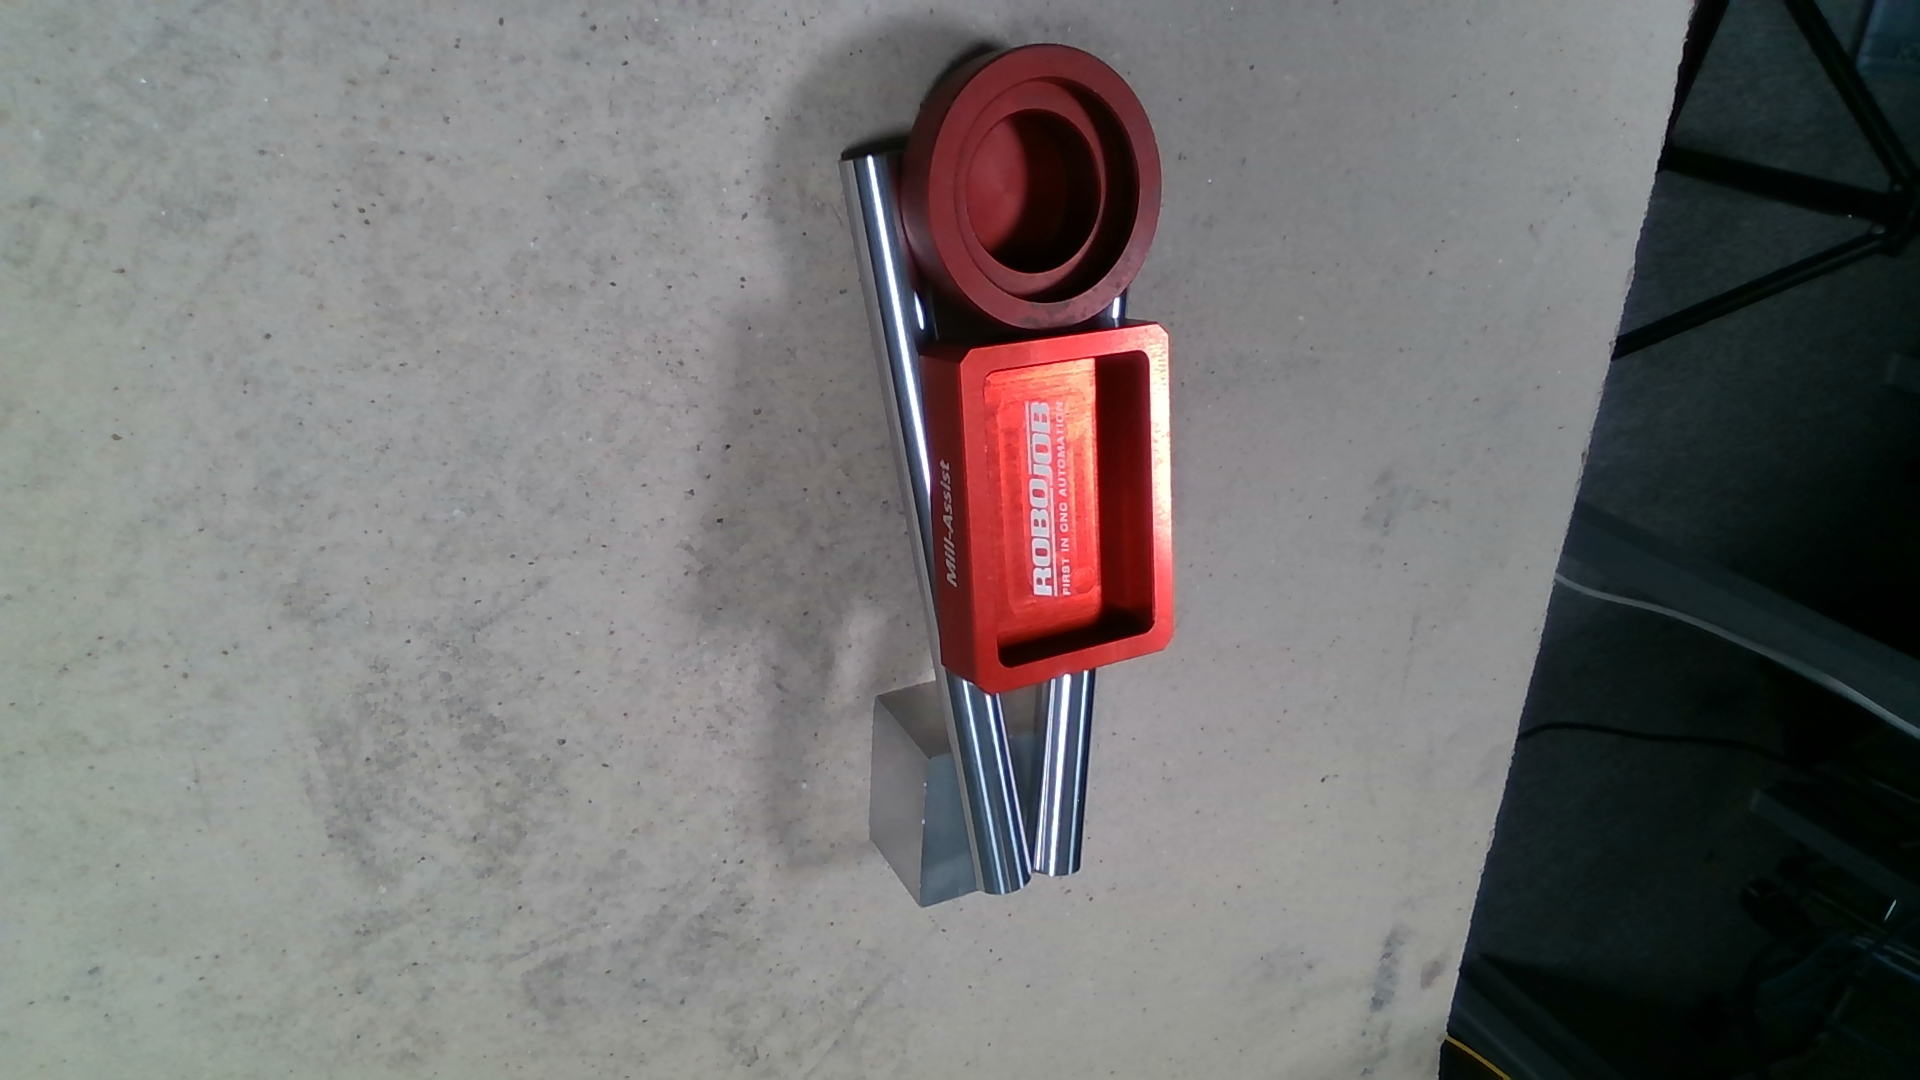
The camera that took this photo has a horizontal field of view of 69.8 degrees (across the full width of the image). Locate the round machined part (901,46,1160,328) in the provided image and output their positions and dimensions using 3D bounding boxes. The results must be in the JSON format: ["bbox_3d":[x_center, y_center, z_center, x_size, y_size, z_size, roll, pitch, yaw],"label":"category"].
[{"bbox_3d":[0.022,-0.129,0.507,0.098,0.042,0.098,-9,108,-27],"label":"round machined part"}]

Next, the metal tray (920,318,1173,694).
[{"bbox_3d":[0.035,-0.015,0.524,0.090,0.030,0.130,-12,108,-26],"label":"metal tray"}]

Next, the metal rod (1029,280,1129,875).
[{"bbox_3d":[0.049,-0.007,0.566,0.025,0.025,0.300,-4,104,-30],"label":"metal rod"}]

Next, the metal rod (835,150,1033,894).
[{"bbox_3d":[-0.007,0.003,0.537,0.025,0.025,0.301,-18,111,-22],"label":"metal rod"}]

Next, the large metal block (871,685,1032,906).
[{"bbox_3d":[0.007,0.109,0.626,0.080,0.050,0.080,-11,120,-27],"label":"large metal block"}]
